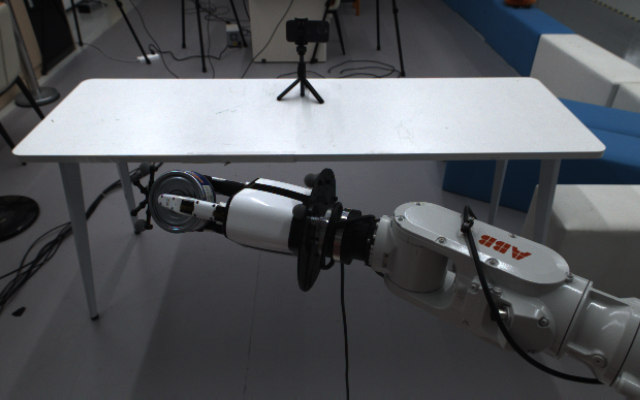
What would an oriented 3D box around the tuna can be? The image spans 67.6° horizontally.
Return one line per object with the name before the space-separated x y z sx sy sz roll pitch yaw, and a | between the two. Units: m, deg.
tuna can | -0.184 0.005 0.651 0.085 0.085 0.034 10 4 11
